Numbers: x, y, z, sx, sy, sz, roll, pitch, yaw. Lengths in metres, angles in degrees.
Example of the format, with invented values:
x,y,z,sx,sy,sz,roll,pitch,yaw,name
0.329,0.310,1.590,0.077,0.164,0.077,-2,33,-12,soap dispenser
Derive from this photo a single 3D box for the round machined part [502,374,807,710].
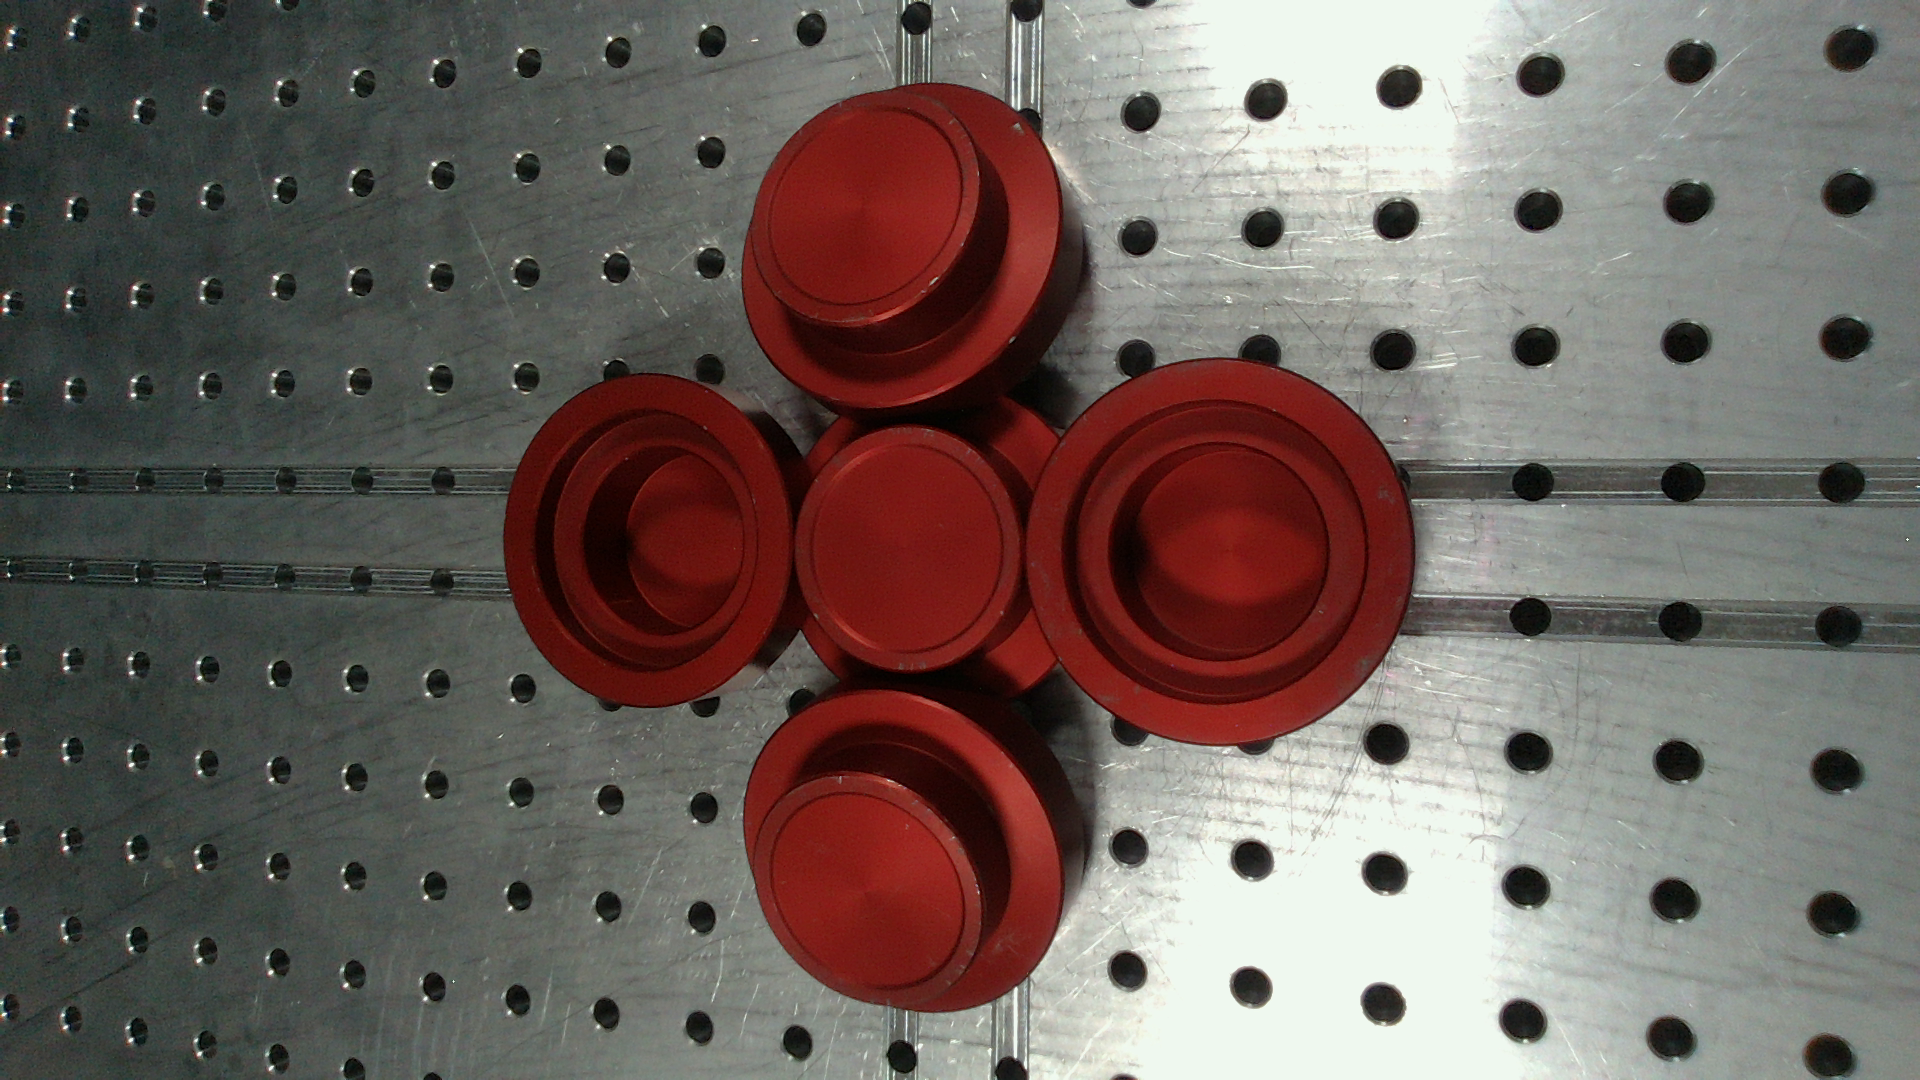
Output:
x,y,z,sx,sy,sz,roll,pitch,yaw,name
-0.086,0.000,0.420,0.098,0.042,0.098,0,90,20,round machined part

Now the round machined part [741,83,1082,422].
x,y,z,sx,sy,sz,roll,pitch,yaw,name
-0.019,-0.084,0.384,0.098,0.042,0.098,-6,74,20,round machined part

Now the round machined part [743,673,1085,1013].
x,y,z,sx,sy,sz,roll,pitch,yaw,name
-0.017,0.089,0.383,0.098,0.042,0.098,5,107,19,round machined part

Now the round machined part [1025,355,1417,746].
x,y,z,sx,sy,sz,roll,pitch,yaw,name
0.070,0.003,0.364,0.098,0.042,0.098,0,90,20,round machined part

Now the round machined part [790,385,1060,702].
x,y,z,sx,sy,sz,roll,pitch,yaw,name
-0.009,0.002,0.391,0.098,0.042,0.098,0,90,20,round machined part
